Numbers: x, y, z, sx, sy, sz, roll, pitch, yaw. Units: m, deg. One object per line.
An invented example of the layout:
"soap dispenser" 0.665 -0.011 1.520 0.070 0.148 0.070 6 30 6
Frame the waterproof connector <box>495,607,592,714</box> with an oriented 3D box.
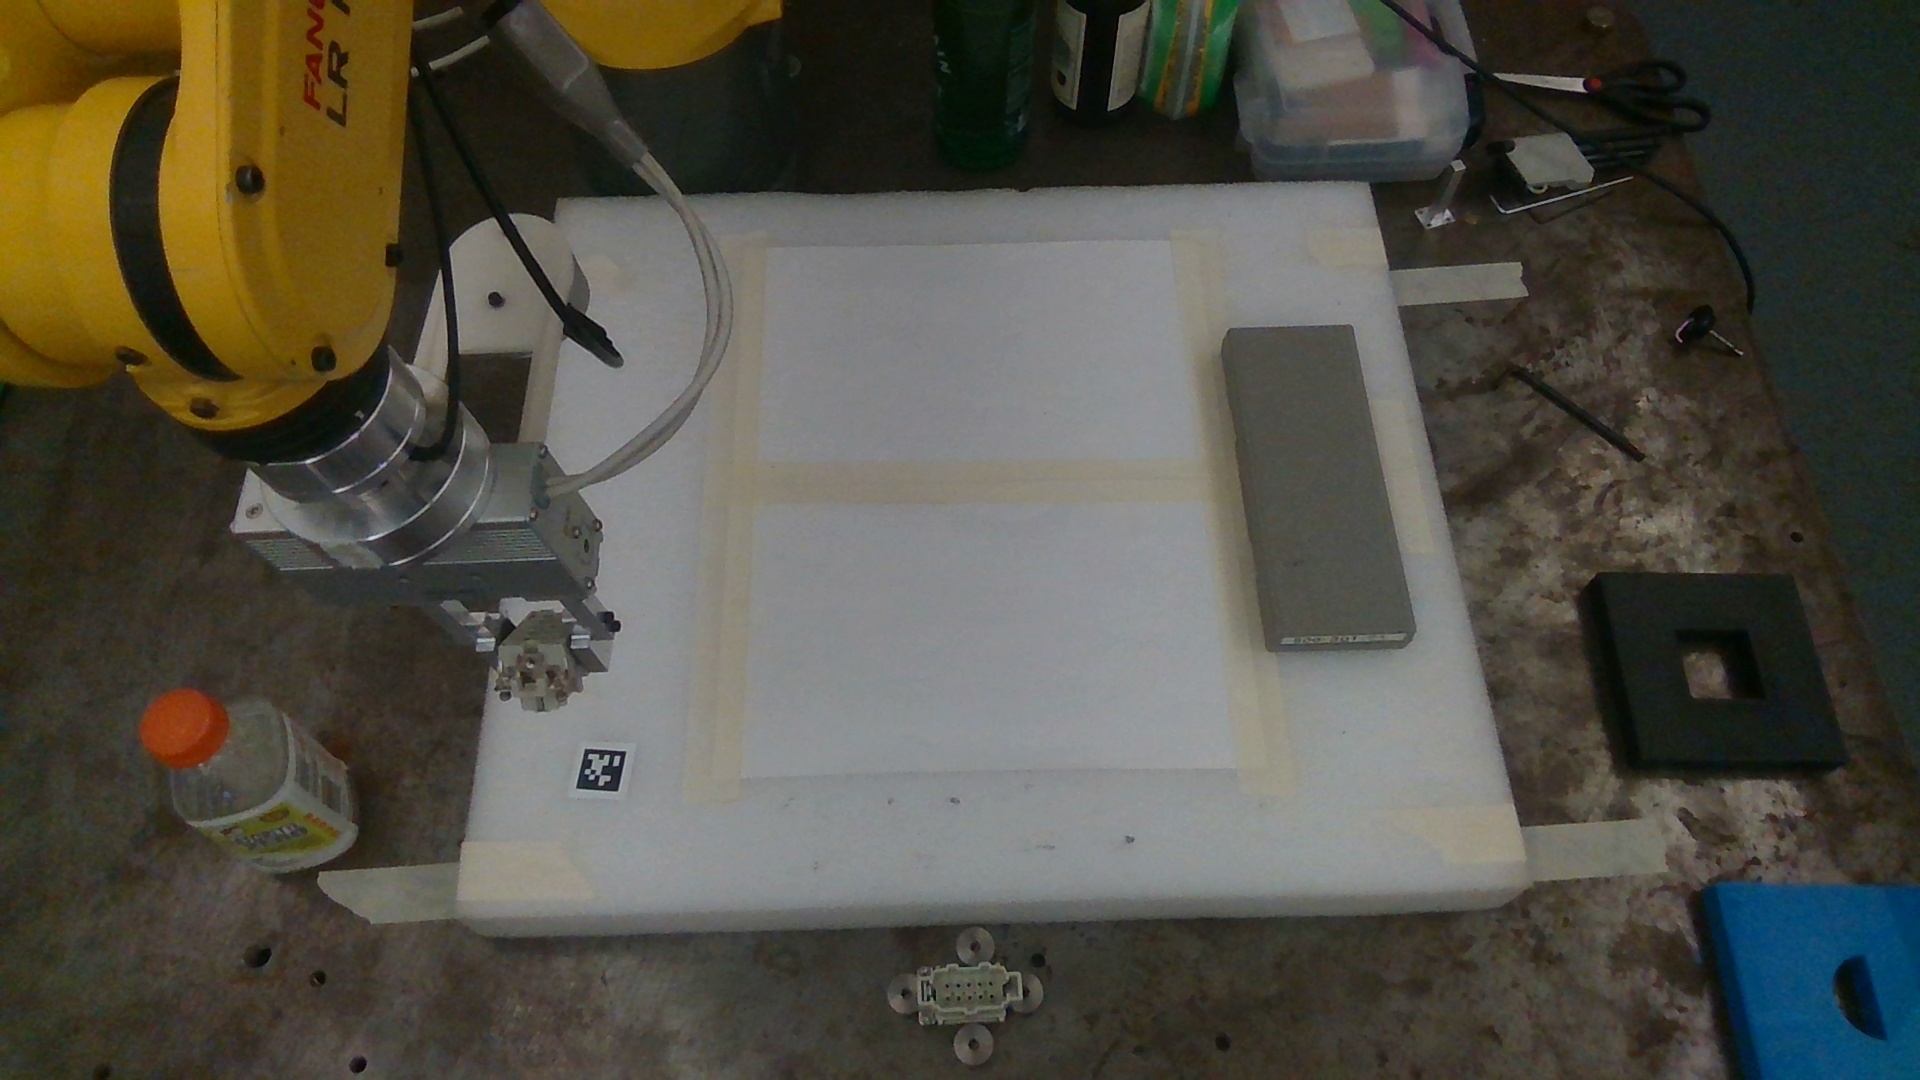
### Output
"waterproof connector" -0.219 0.063 0.732 0.037 0.038 0.069 -4 23 1
